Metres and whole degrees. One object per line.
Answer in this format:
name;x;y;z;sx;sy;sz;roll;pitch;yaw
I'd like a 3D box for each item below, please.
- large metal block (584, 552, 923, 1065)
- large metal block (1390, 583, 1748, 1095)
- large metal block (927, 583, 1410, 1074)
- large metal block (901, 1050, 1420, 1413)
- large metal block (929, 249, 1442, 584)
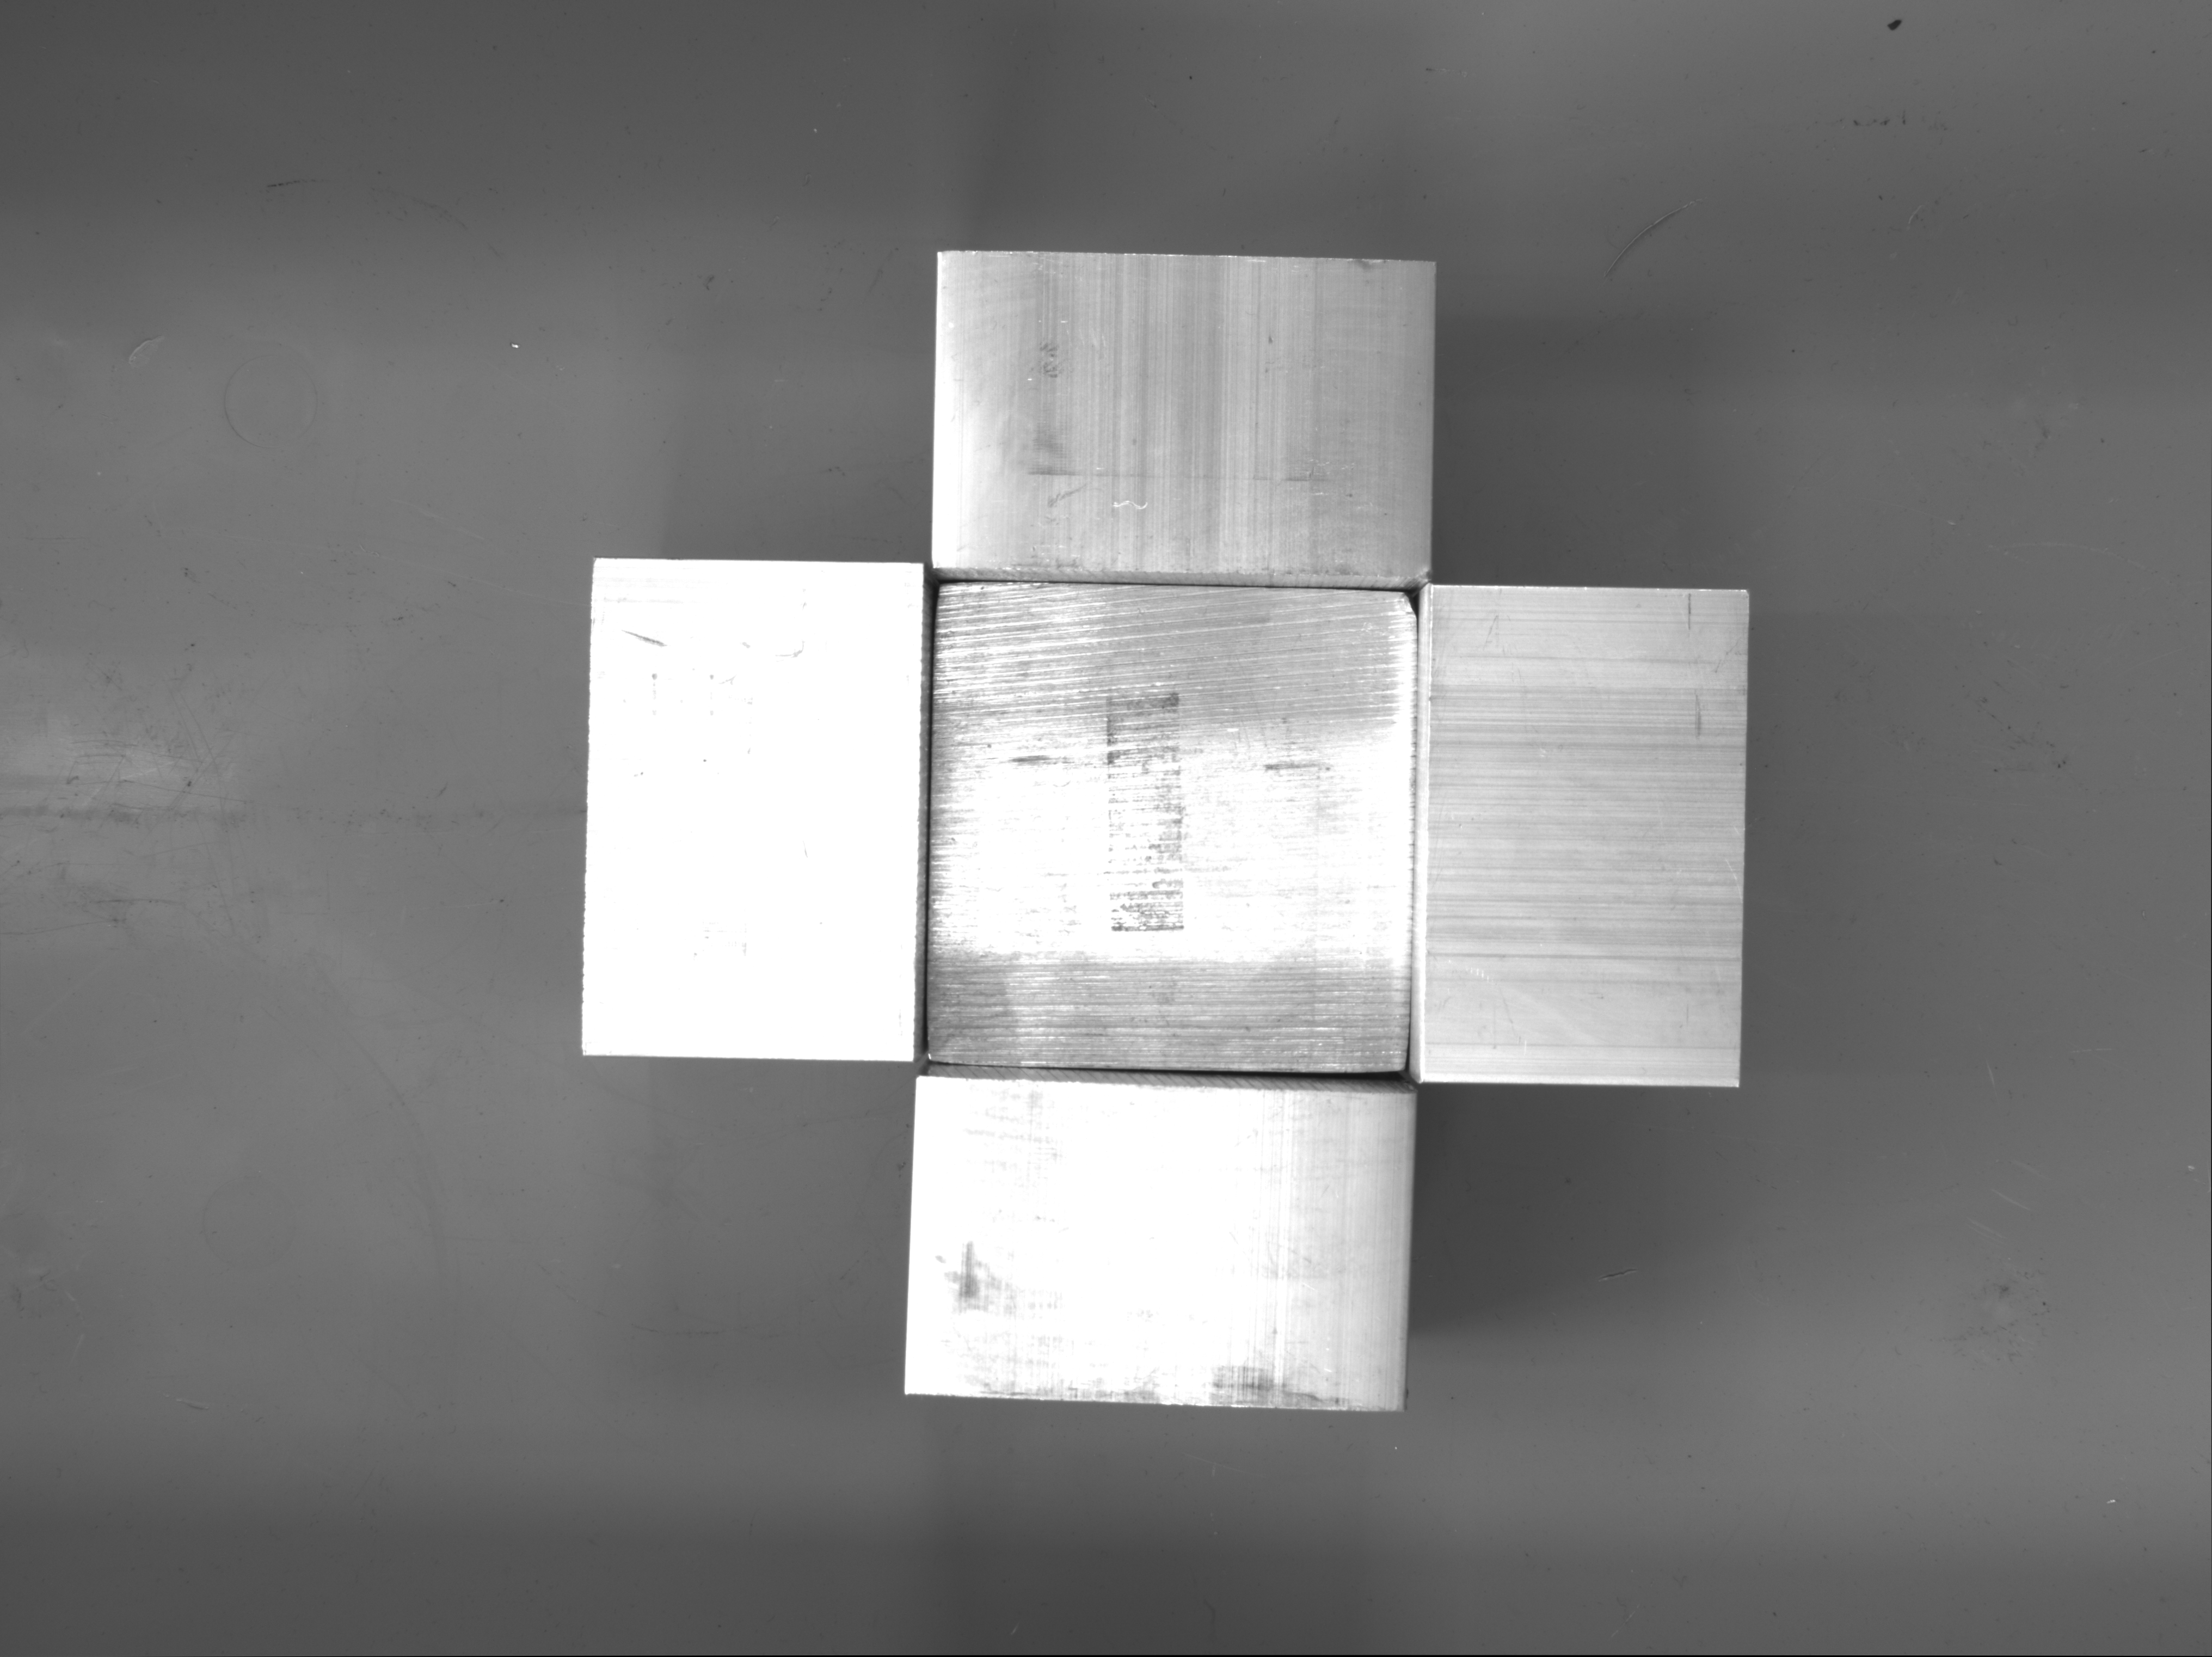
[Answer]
large metal block;-0.056;-0.003;0.617;0.050;0.080;0.080;1;90;0
large metal block;0.076;0.002;0.617;0.050;0.080;0.080;1;90;0
large metal block;0.011;0.000;0.631;0.080;0.050;0.080;1;90;0
large metal block;0.009;0.066;0.616;0.080;0.080;0.050;2;90;0
large metal block;0.013;-0.065;0.617;0.080;0.080;0.050;1;90;0
